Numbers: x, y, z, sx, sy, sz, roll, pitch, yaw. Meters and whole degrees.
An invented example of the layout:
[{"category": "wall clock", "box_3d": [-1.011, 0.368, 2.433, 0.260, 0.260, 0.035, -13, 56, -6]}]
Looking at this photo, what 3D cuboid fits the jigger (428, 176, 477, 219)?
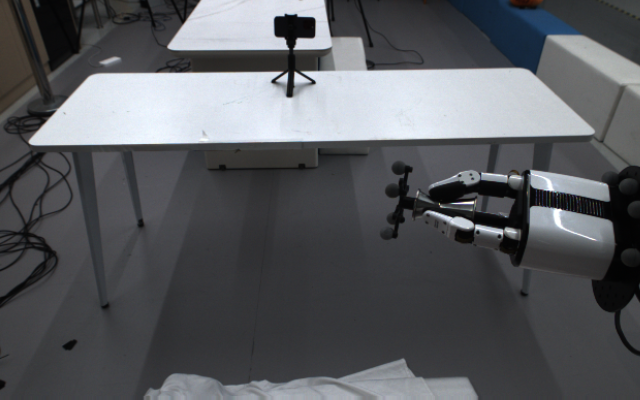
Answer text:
[{"category": "jigger", "box_3d": [0.152, 0.008, 0.570, 0.071, 0.043, 0.043, 11, 36, 15]}]
